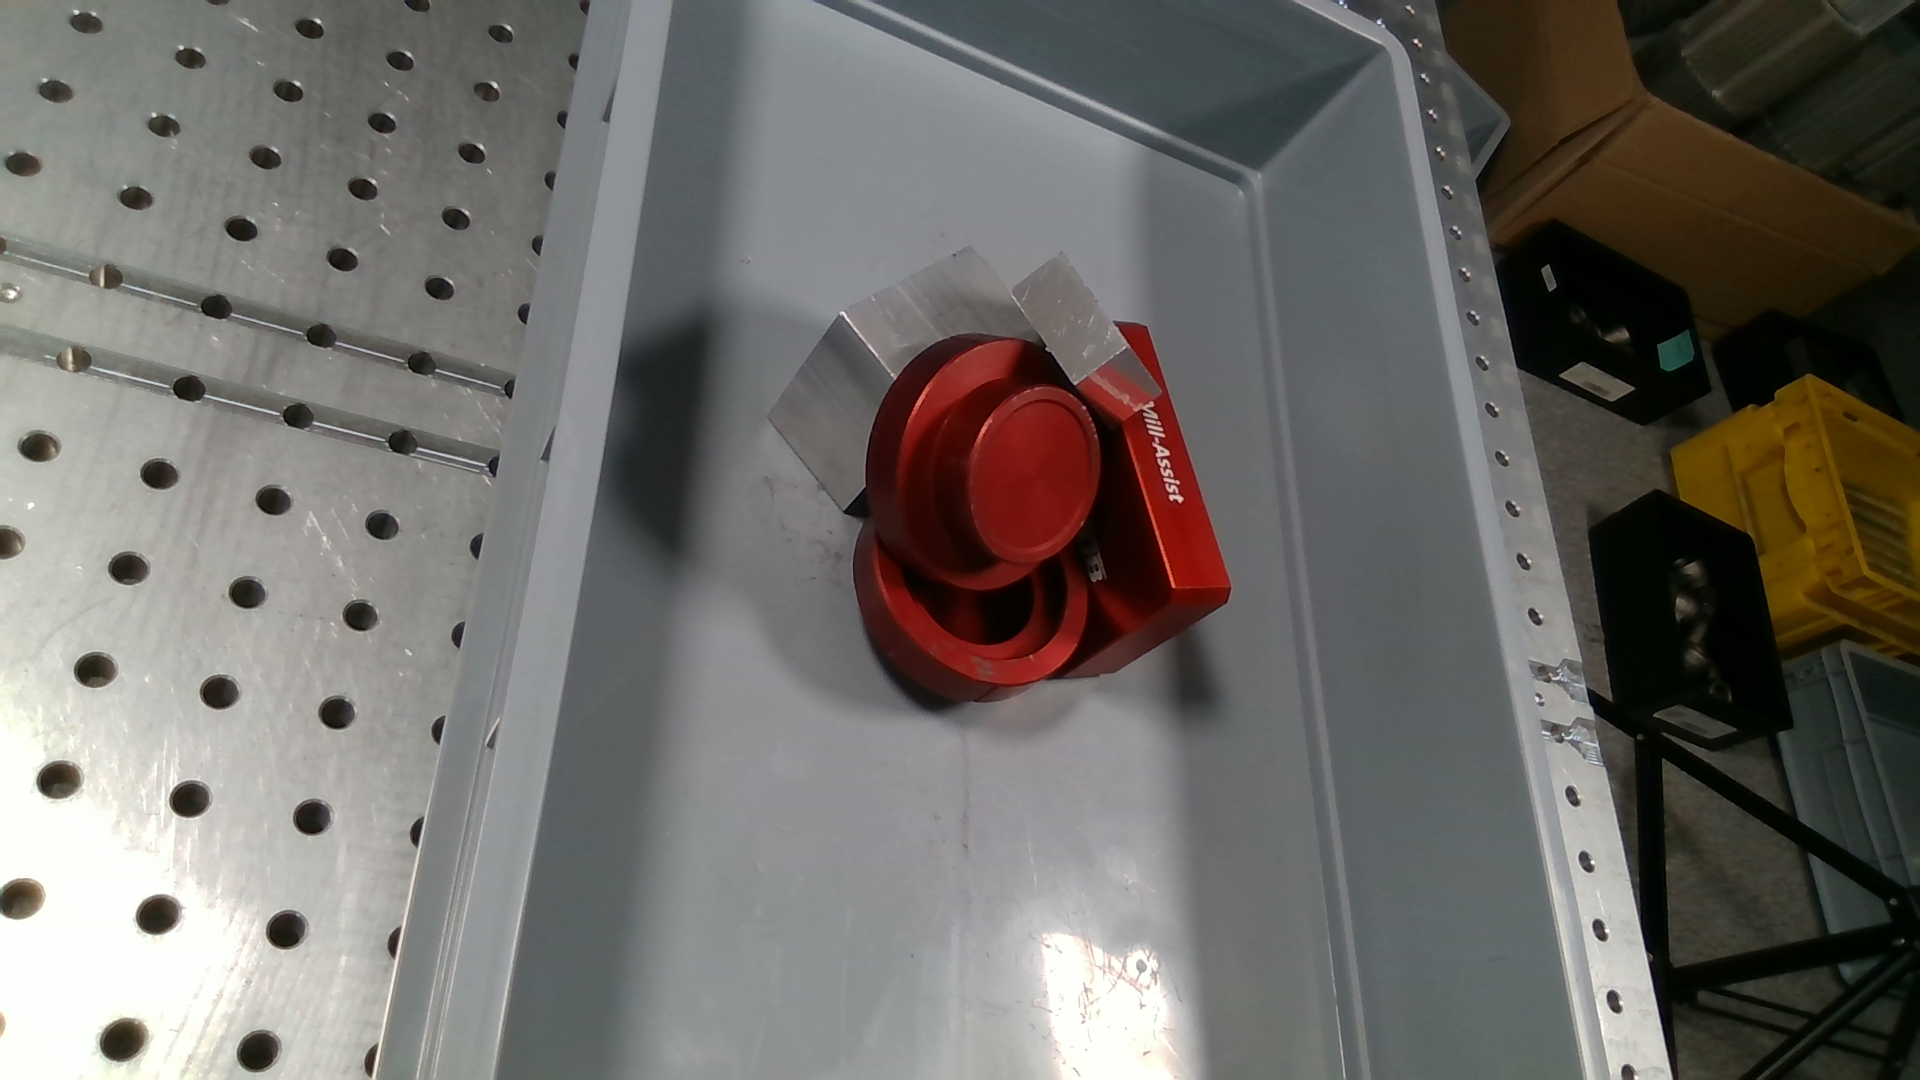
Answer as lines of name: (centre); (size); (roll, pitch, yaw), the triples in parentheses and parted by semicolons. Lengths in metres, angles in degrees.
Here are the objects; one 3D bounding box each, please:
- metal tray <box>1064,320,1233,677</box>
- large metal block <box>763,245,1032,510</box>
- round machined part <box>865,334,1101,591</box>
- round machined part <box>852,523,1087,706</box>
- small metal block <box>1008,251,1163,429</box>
metal tray: (0.060, -0.017, 0.588); (0.030, 0.090, 0.130); (-1, 66, -31)
large metal block: (-0.023, -0.067, 0.571); (0.080, 0.080, 0.050); (-35, 86, -39)
round machined part: (0.015, -0.028, 0.523); (0.098, 0.042, 0.098); (-14, 112, -38)
round machined part: (0.000, 0.022, 0.564); (0.098, 0.042, 0.098); (14, 59, -25)
small metal block: (0.050, -0.077, 0.537); (0.050, 0.025, 0.050); (59, 11, 25)
